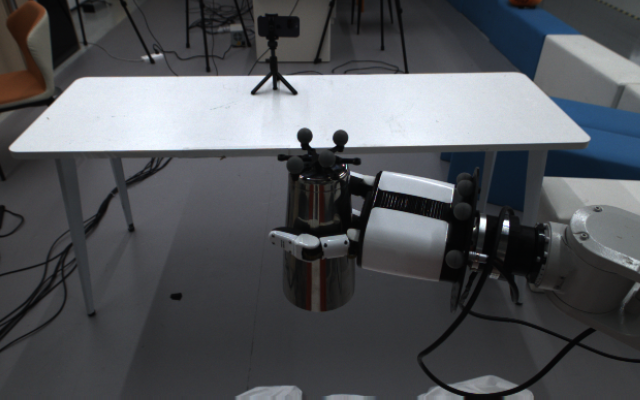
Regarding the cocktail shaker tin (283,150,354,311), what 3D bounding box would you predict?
[{"bbox_3d":[0.001,0.035,0.565,0.093,0.170,0.093,1,33,0],"label":"cocktail shaker tin"}]
